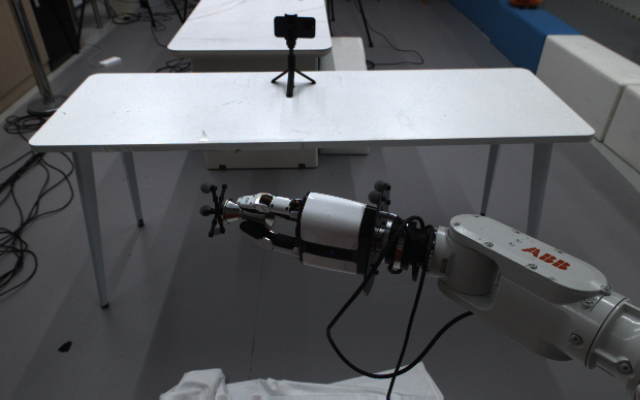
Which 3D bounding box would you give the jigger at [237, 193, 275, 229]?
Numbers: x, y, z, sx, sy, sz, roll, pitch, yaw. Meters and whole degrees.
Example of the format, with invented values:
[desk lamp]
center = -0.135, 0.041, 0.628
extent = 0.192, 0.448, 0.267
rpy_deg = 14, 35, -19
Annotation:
[jigger]
center = -0.100, 0.017, 0.732
extent = 0.071, 0.043, 0.043
rpy_deg = 5, 34, 13
